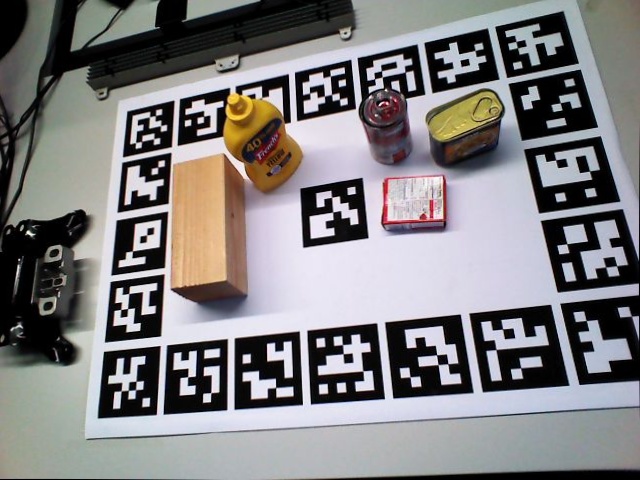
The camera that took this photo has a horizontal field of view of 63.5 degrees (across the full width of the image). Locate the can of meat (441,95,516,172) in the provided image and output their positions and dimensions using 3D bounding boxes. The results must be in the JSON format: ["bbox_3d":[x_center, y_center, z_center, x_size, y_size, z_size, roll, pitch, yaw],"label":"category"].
[{"bbox_3d":[0.225,-0.148,0.732,0.102,0.084,0.057,-21,66,5],"label":"can of meat"}]

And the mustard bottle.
[{"bbox_3d":[-0.070,-0.137,0.761,0.096,0.191,0.058,-32,64,1],"label":"mustard bottle"}]

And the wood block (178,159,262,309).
[{"bbox_3d":[-0.147,-0.009,0.787,0.091,0.090,0.205,-7,64,12],"label":"wood block"}]

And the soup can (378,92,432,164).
[{"bbox_3d":[0.125,-0.161,0.746,0.068,0.102,0.067,-5,70,15],"label":"soup can"}]

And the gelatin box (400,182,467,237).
[{"bbox_3d":[0.162,-0.042,0.735,0.090,0.030,0.073,1,72,19],"label":"gelatin box"}]
